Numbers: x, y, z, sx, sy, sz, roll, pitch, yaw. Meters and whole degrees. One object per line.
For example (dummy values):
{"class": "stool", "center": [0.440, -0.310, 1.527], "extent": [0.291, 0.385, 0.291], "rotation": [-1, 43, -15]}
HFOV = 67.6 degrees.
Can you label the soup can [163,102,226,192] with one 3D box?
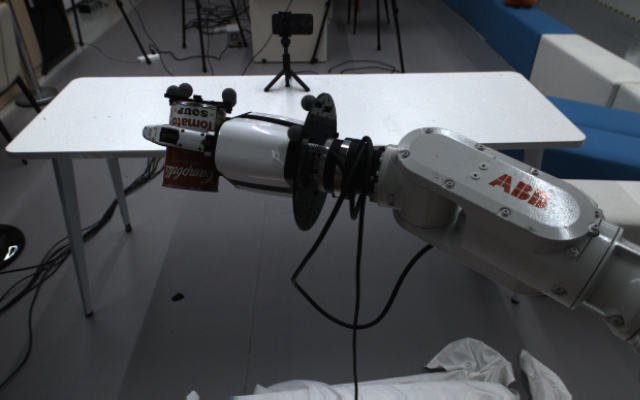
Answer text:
{"class": "soup can", "center": [-0.152, -0.063, 0.590], "extent": [0.067, 0.101, 0.067], "rotation": [7, 3, 0]}
